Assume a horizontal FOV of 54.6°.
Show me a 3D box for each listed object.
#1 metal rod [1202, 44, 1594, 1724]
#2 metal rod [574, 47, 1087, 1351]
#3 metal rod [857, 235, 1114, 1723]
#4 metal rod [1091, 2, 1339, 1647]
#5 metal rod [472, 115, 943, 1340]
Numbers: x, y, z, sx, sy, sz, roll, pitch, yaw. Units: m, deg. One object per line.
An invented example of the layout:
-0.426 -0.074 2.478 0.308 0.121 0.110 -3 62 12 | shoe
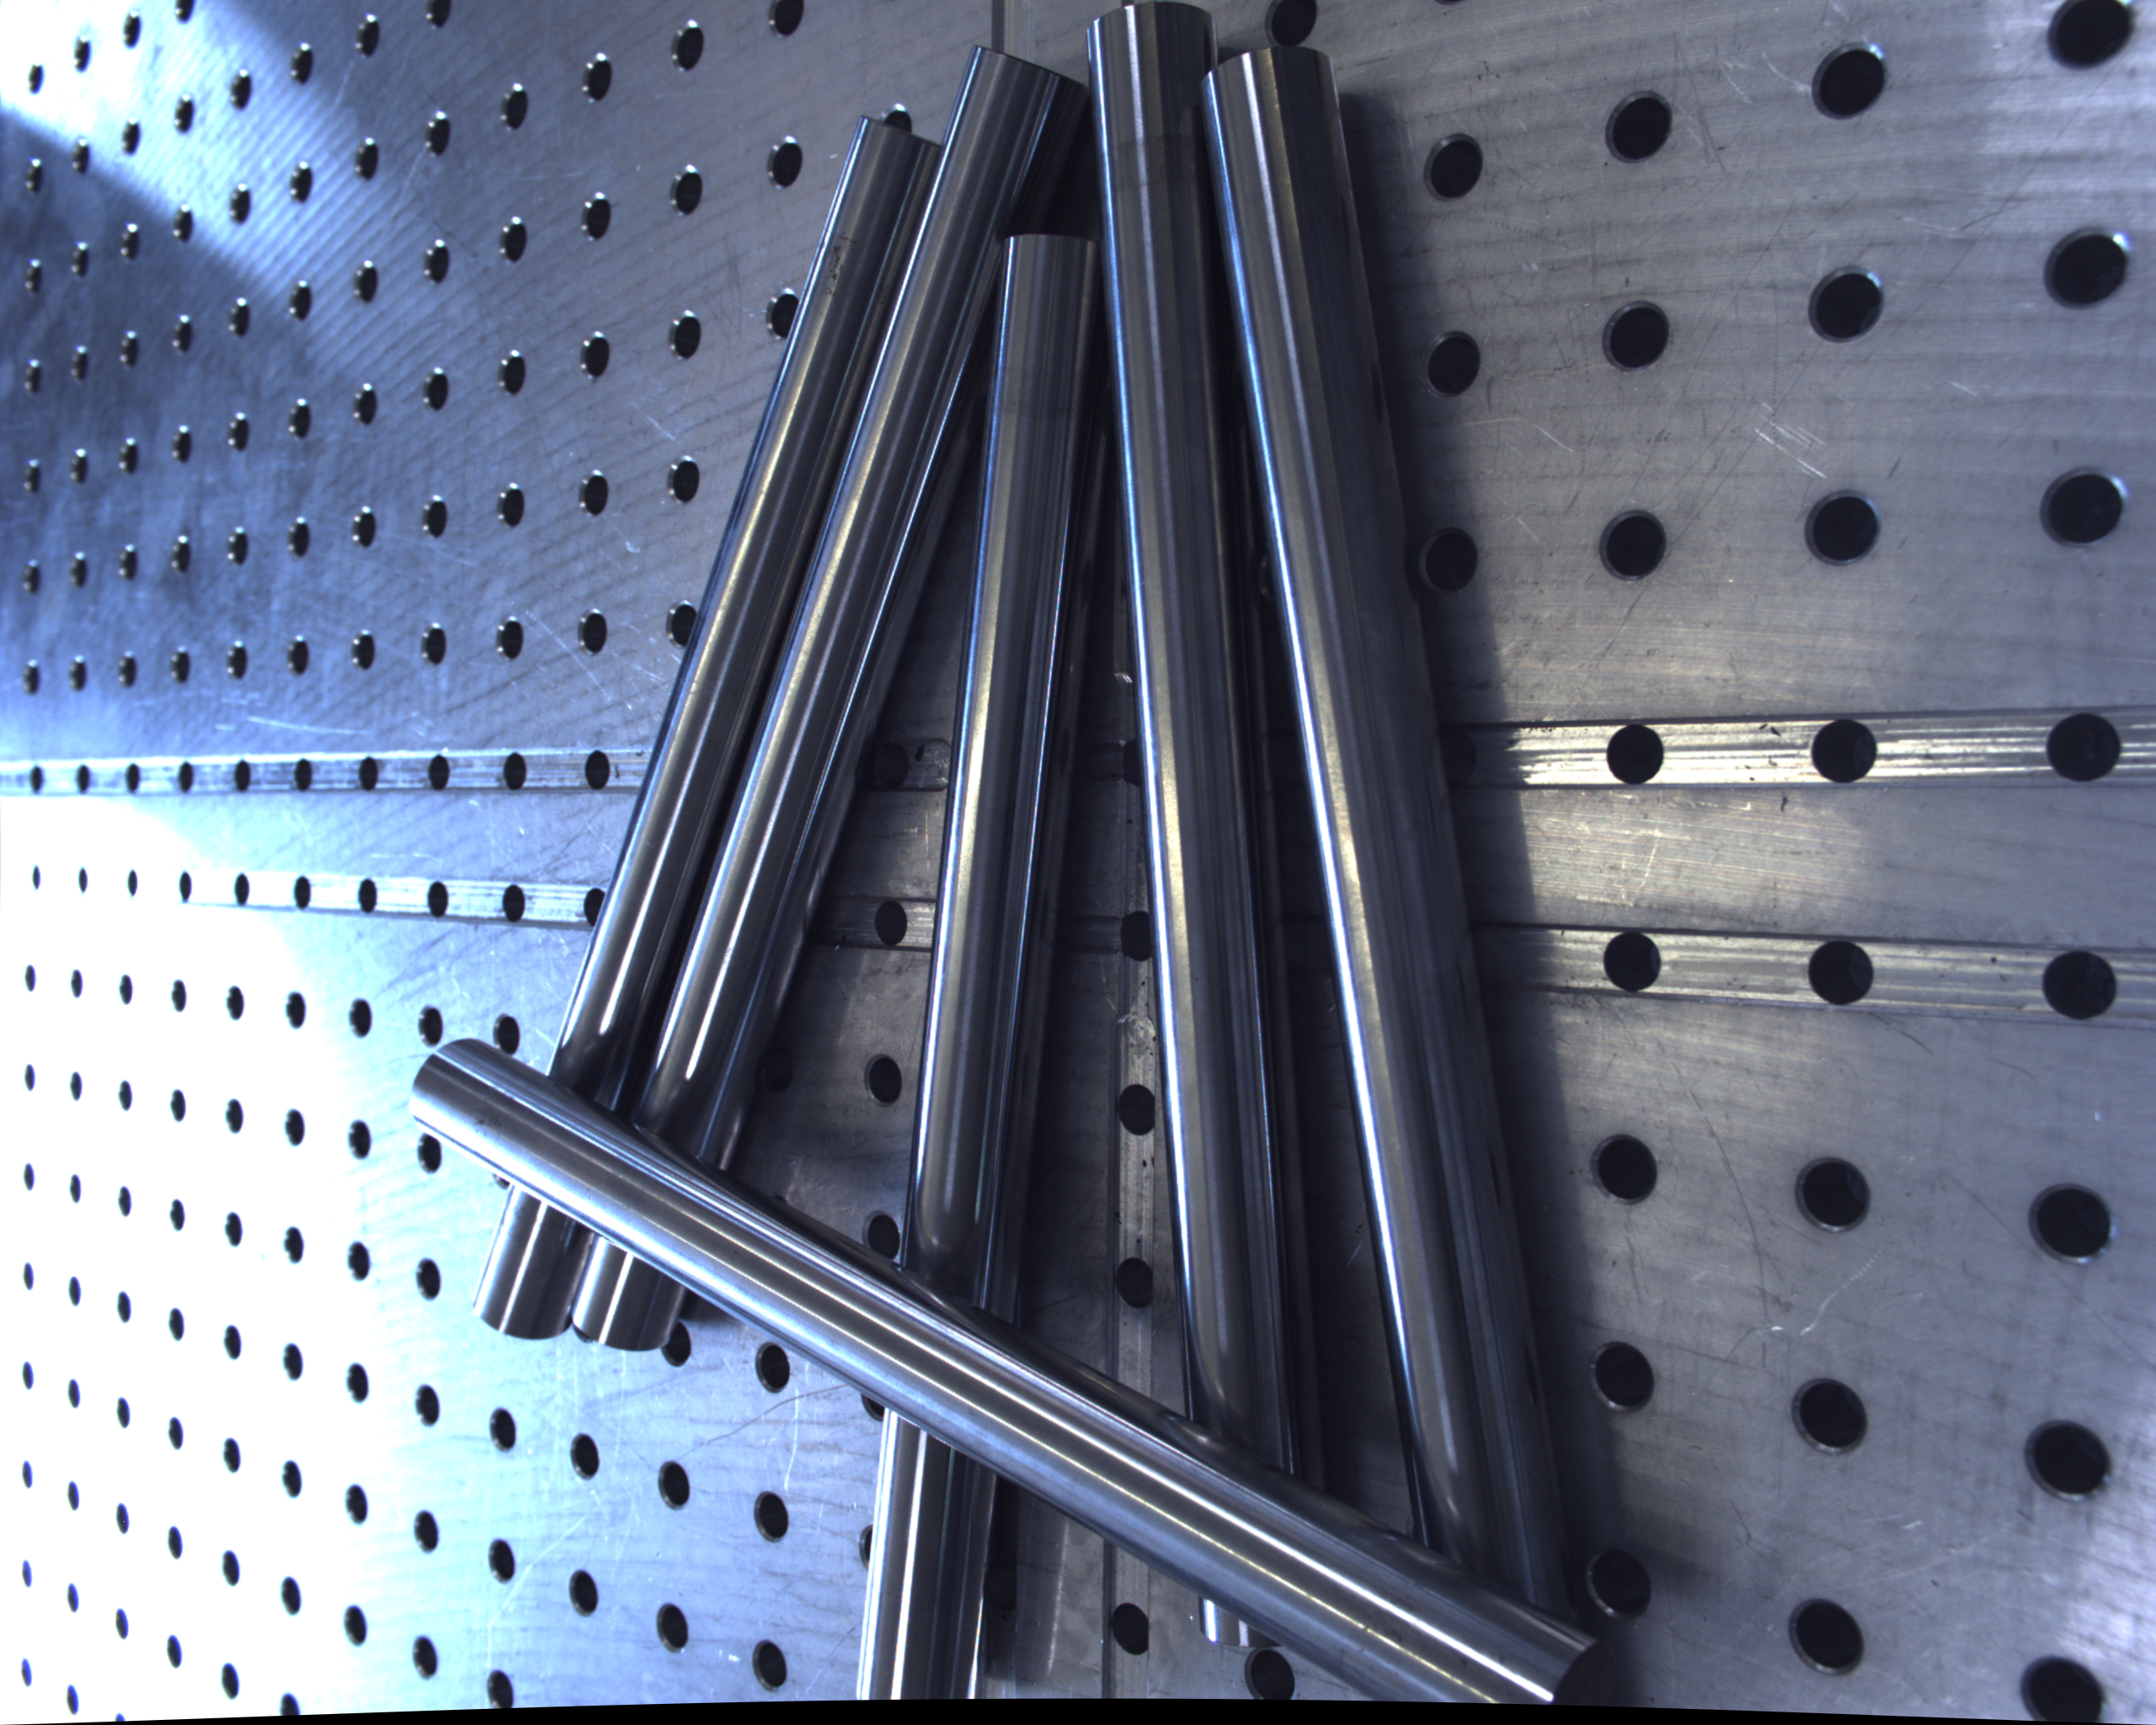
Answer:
0.055 0.004 0.365 0.025 0.025 0.299 -13 82 39 | metal rod
-0.058 -0.024 0.459 0.025 0.025 0.298 32 110 35 | metal rod
-0.018 0.027 0.425 0.025 0.025 0.298 10 97 39 | metal rod
0.025 -0.010 0.390 0.025 0.025 0.299 -7 86 40 | metal rod
-0.087 -0.020 0.482 0.025 0.025 0.298 34 111 35 | metal rod
